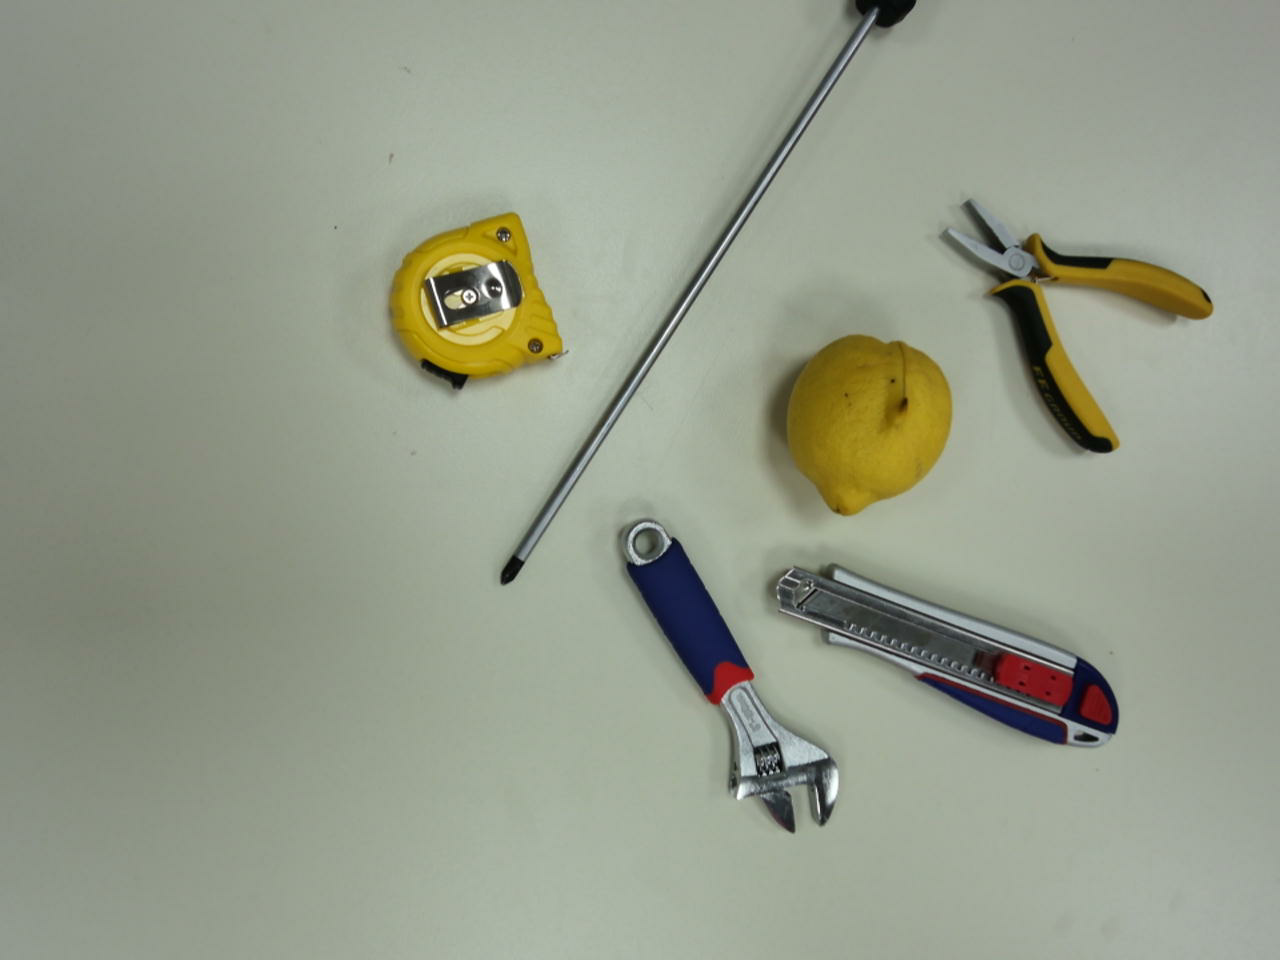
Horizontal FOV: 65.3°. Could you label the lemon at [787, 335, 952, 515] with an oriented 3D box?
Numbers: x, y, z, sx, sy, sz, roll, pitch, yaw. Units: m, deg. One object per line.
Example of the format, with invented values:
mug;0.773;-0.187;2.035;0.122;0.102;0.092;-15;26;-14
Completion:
lemon;0.097;-0.027;0.423;0.071;0.071;0.070;-34;97;-9
